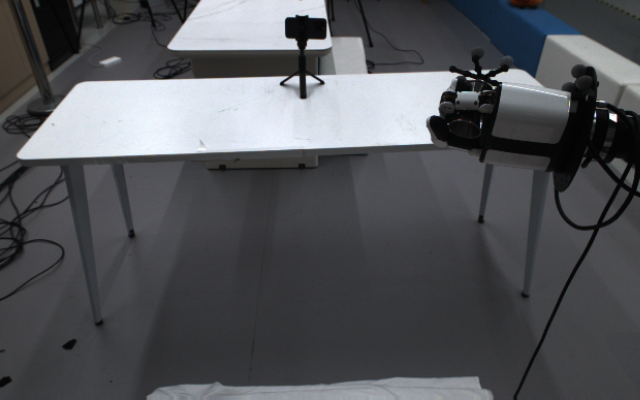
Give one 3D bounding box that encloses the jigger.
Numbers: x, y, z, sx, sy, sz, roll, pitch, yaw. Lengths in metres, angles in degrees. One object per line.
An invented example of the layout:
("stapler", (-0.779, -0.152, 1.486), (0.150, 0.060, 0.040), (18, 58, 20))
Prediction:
("jigger", (0.204, -0.127, 0.652), (0.043, 0.043, 0.071), (16, 70, 19))
